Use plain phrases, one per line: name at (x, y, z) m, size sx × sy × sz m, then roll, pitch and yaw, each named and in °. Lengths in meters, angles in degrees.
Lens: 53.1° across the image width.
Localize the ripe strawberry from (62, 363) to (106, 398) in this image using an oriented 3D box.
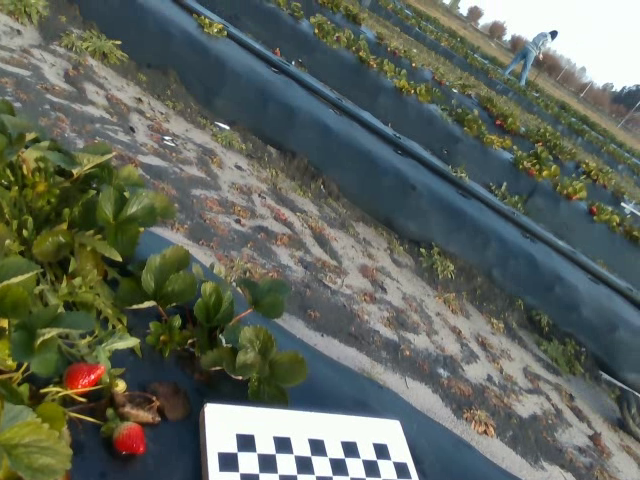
ripe strawberry at (-0.257, 0.144, 0.690) m, size 0.048 × 0.040 × 0.032 m, roll -26°, pitch -35°, yaw -4°

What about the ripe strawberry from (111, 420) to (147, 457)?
ripe strawberry at (-0.198, 0.208, 0.664) m, size 0.043 × 0.030 × 0.035 m, roll 41°, pitch 34°, yaw 19°
